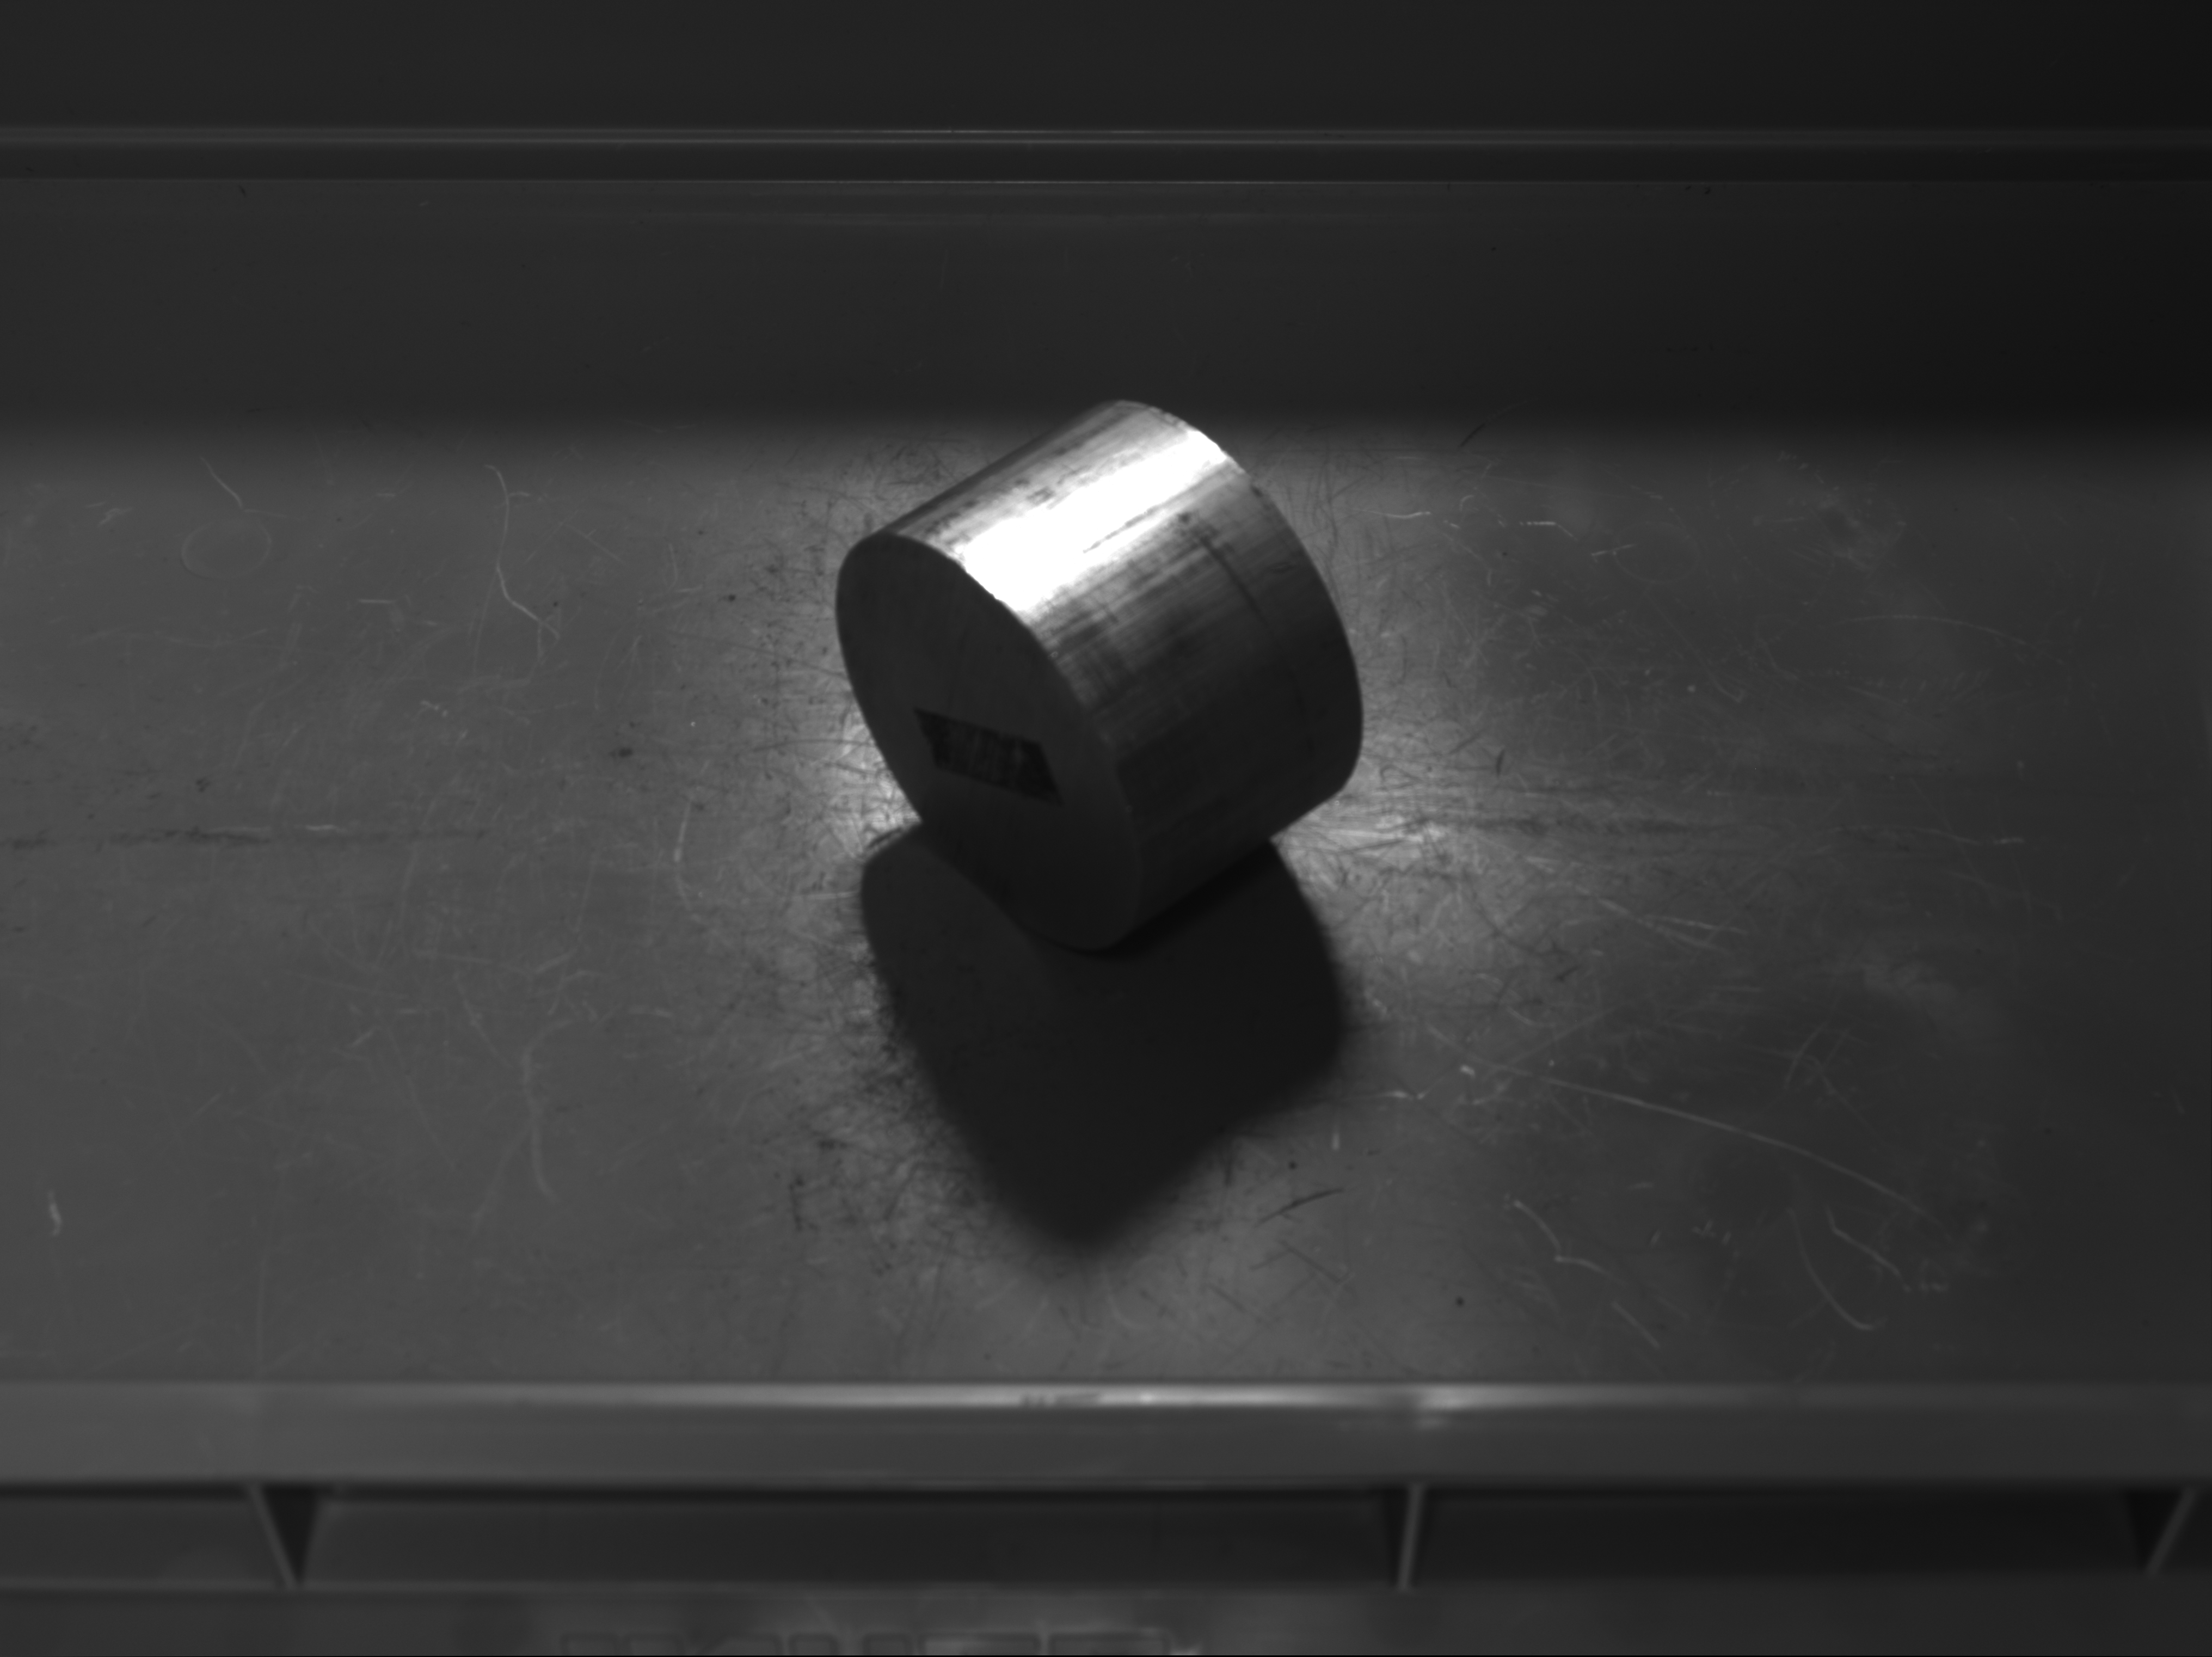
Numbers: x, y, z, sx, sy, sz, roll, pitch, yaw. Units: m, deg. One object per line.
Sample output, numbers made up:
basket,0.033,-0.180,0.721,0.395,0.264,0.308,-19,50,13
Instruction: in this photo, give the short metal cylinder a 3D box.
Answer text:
short metal cylinder,0.001,-0.026,0.626,0.050,0.080,0.080,-34,58,-25
